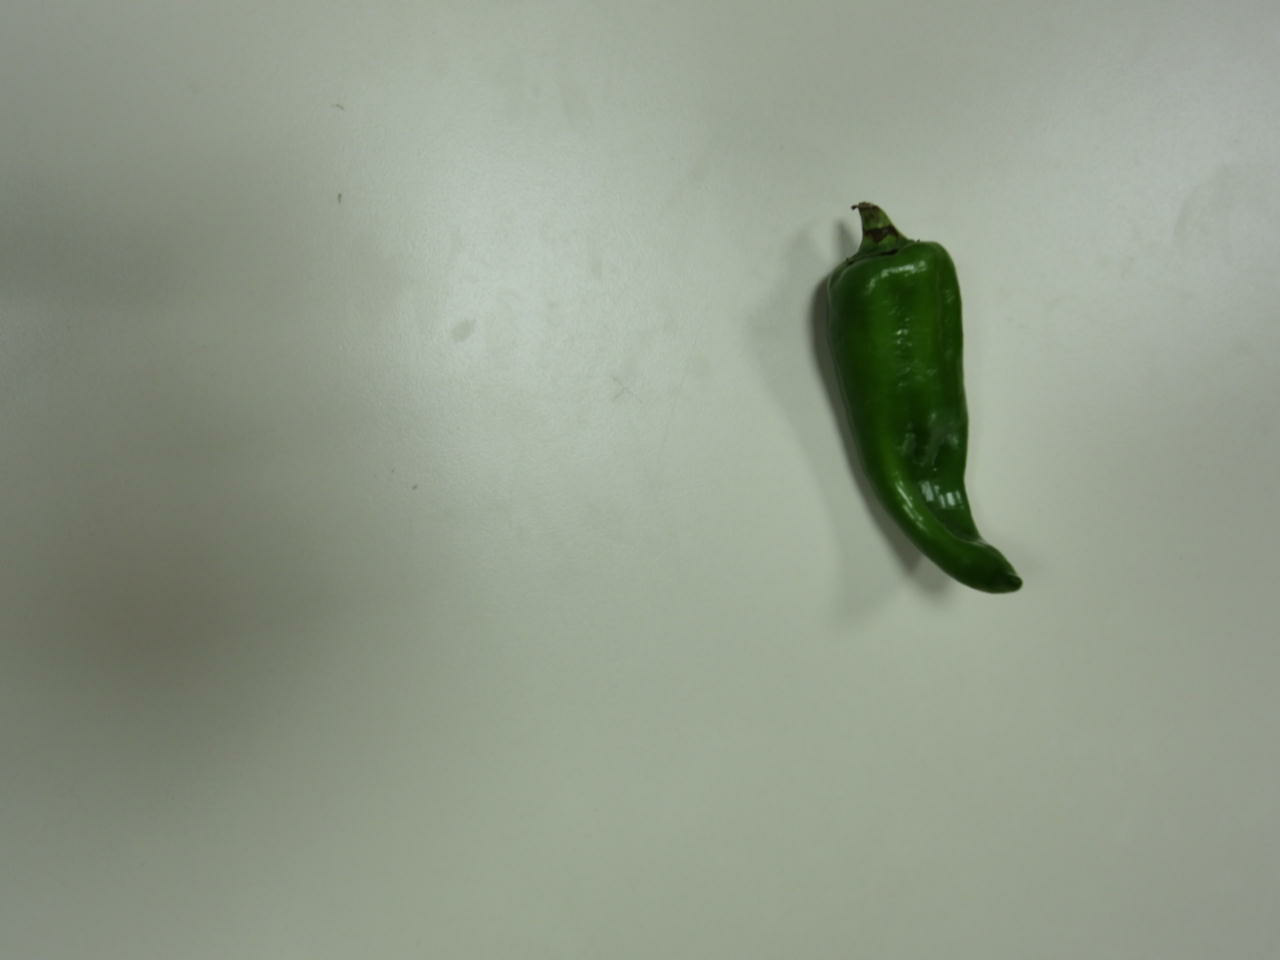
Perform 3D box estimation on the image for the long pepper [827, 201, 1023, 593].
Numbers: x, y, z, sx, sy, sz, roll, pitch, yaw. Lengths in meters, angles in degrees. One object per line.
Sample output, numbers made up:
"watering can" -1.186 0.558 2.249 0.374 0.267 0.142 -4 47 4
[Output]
"long pepper" 0.118 -0.036 0.427 0.058 0.065 0.175 -13 93 -11
